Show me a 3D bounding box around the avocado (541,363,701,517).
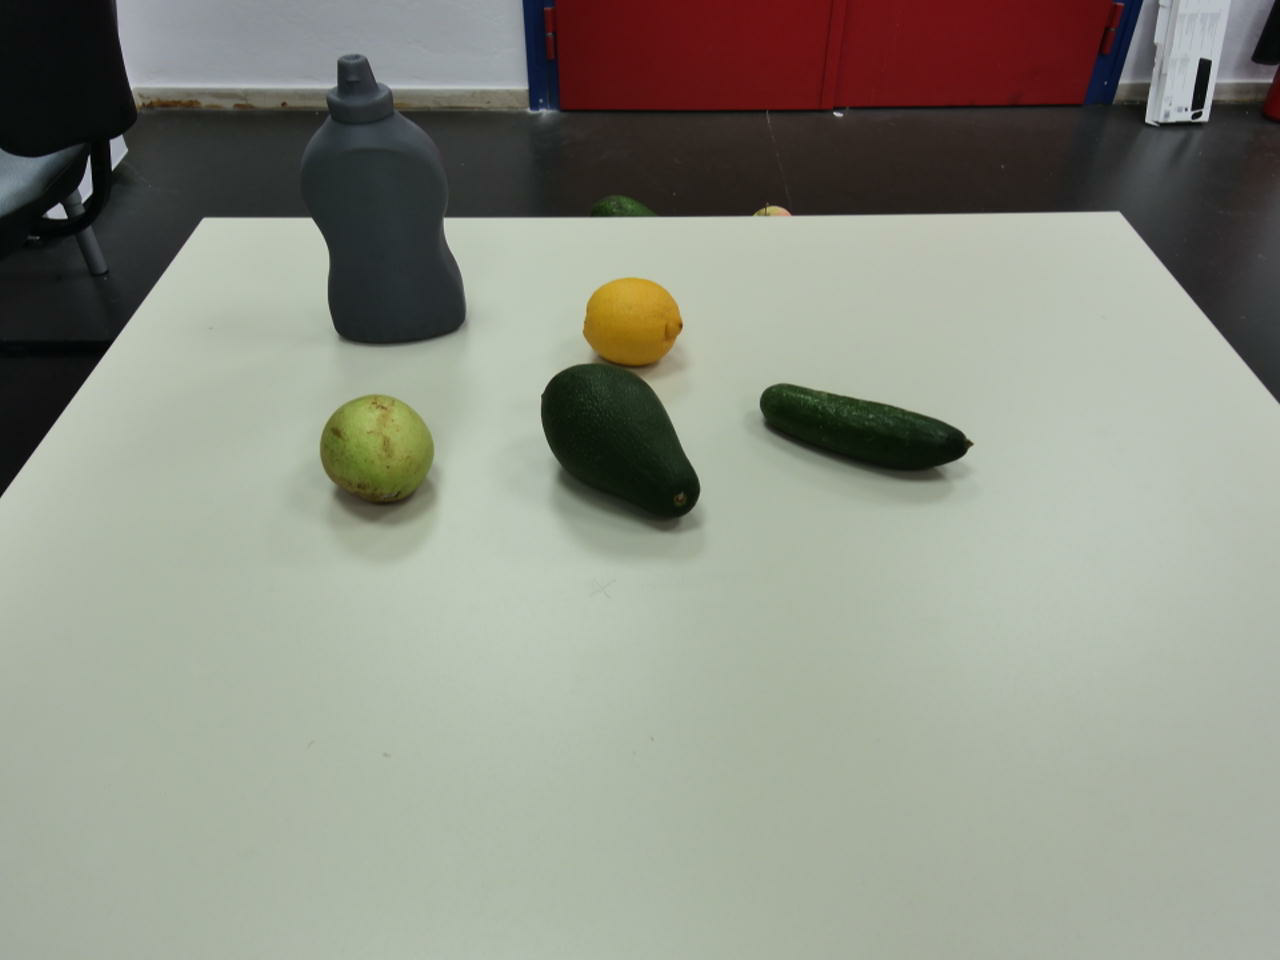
[{"bbox_3d":[-0.015,-0.024,0.583,0.072,0.071,0.109,-15,41,-17],"label":"avocado"}]
